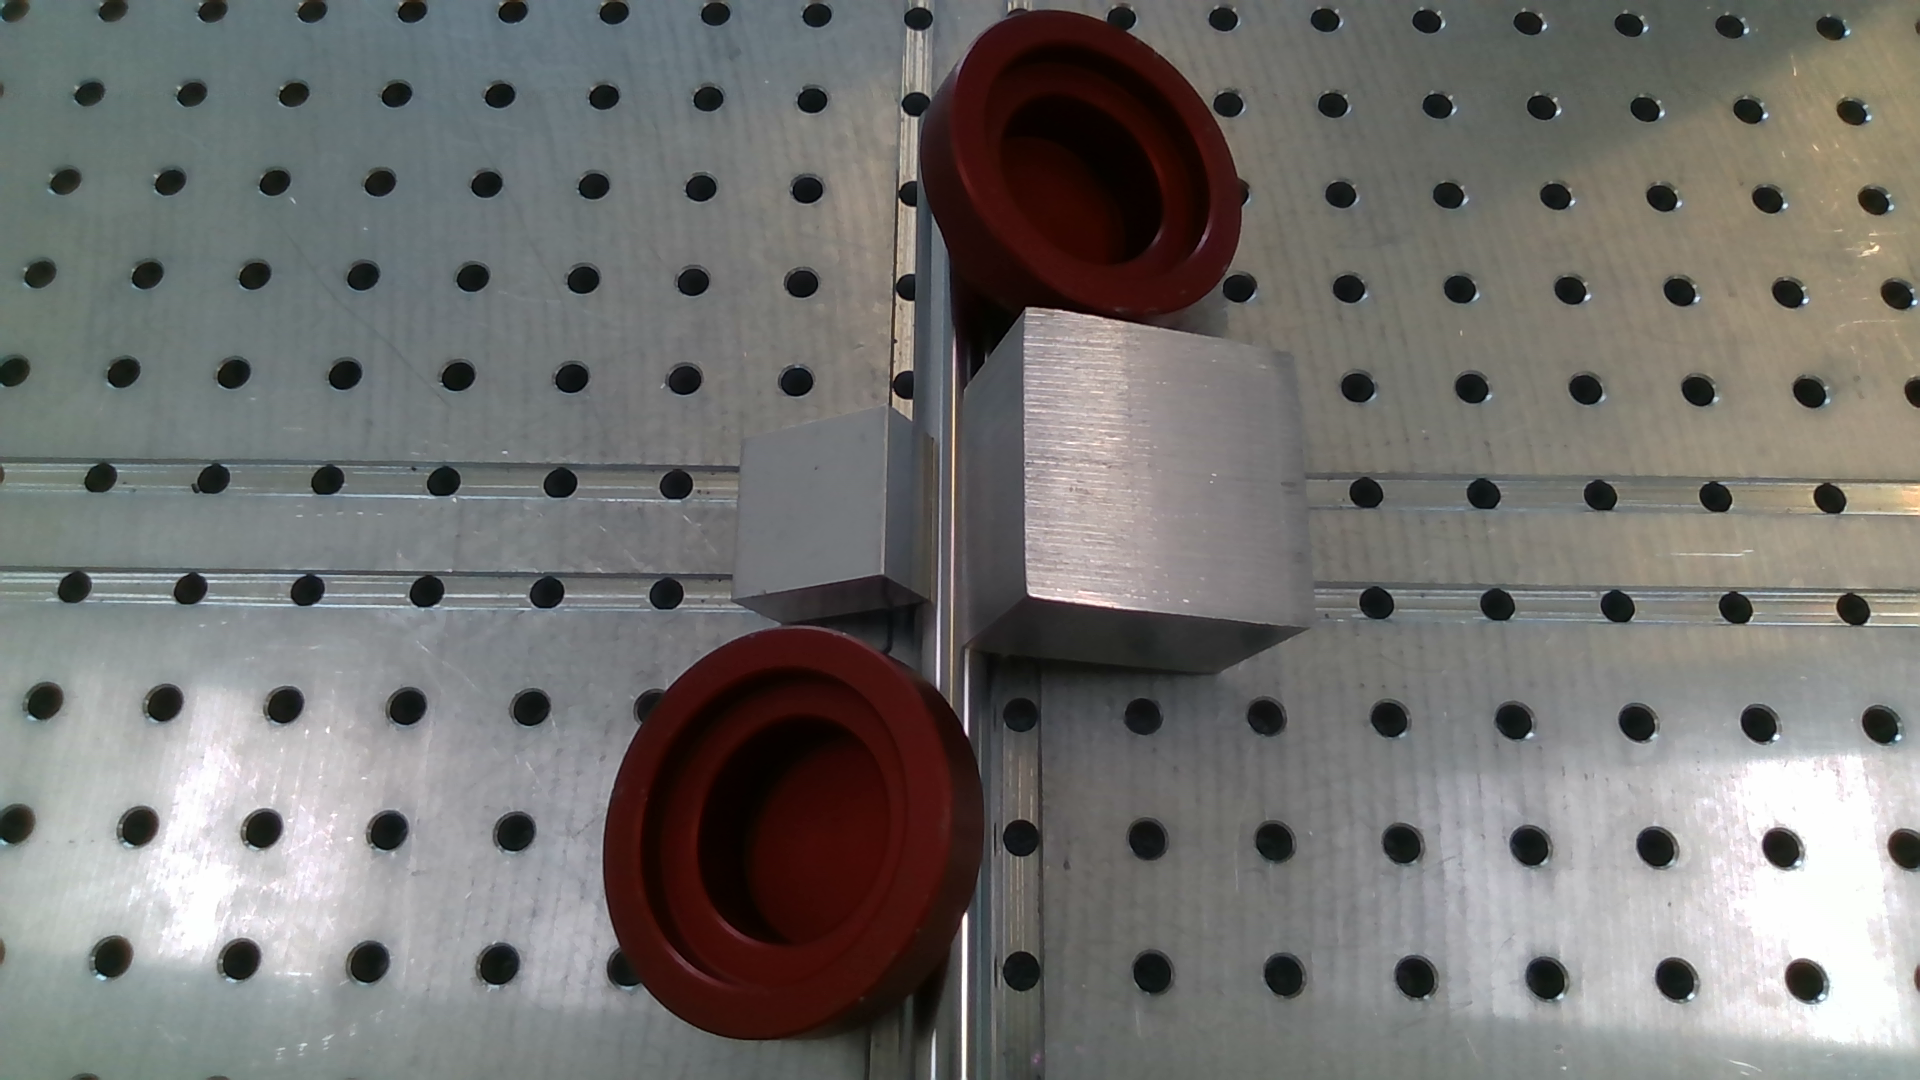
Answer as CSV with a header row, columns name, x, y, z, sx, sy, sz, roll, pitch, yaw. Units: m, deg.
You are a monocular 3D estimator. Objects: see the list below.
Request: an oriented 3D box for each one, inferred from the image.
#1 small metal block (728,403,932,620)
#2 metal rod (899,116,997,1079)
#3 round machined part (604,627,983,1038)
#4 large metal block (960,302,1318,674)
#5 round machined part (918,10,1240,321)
name,x,y,z,sx,sy,sz,roll,pitch,yaw
small metal block,-0.036,-0.006,0.390,0.050,0.025,0.050,-10,68,27
metal rod,-0.002,0.006,0.397,0.025,0.025,0.299,0,71,0
round machined part,-0.038,0.075,0.350,0.098,0.042,0.098,-9,68,24
large metal block,0.046,-0.011,0.377,0.080,0.050,0.080,7,70,-17
round machined part,0.032,-0.104,0.412,0.098,0.042,0.098,9,69,-24
